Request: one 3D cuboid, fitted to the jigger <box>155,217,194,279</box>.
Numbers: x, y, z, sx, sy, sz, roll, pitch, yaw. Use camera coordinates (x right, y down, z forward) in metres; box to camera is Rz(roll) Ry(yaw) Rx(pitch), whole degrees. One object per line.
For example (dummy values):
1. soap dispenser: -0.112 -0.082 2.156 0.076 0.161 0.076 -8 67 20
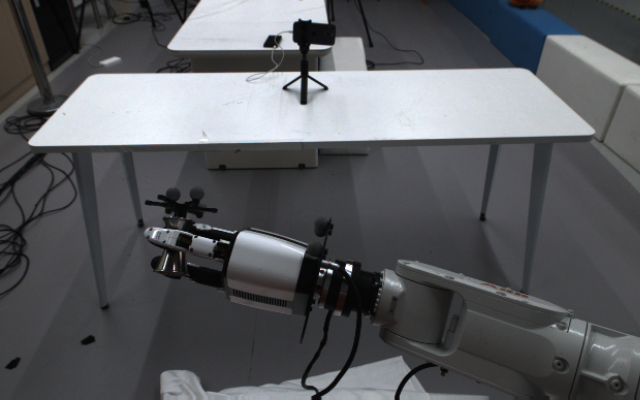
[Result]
1. jigger: -0.179 0.058 0.600 0.043 0.043 0.071 4 75 2
